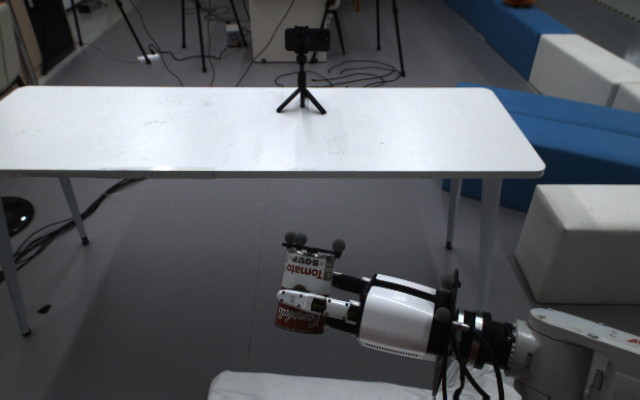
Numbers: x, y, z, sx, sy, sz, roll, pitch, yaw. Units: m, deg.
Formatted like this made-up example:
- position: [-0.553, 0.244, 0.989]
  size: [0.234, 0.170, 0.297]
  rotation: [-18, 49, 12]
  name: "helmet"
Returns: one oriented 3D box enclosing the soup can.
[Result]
- position: [-0.017, 0.120, 0.646]
  size: [0.067, 0.101, 0.067]
  rotation: [9, -5, 1]
  name: "soup can"
